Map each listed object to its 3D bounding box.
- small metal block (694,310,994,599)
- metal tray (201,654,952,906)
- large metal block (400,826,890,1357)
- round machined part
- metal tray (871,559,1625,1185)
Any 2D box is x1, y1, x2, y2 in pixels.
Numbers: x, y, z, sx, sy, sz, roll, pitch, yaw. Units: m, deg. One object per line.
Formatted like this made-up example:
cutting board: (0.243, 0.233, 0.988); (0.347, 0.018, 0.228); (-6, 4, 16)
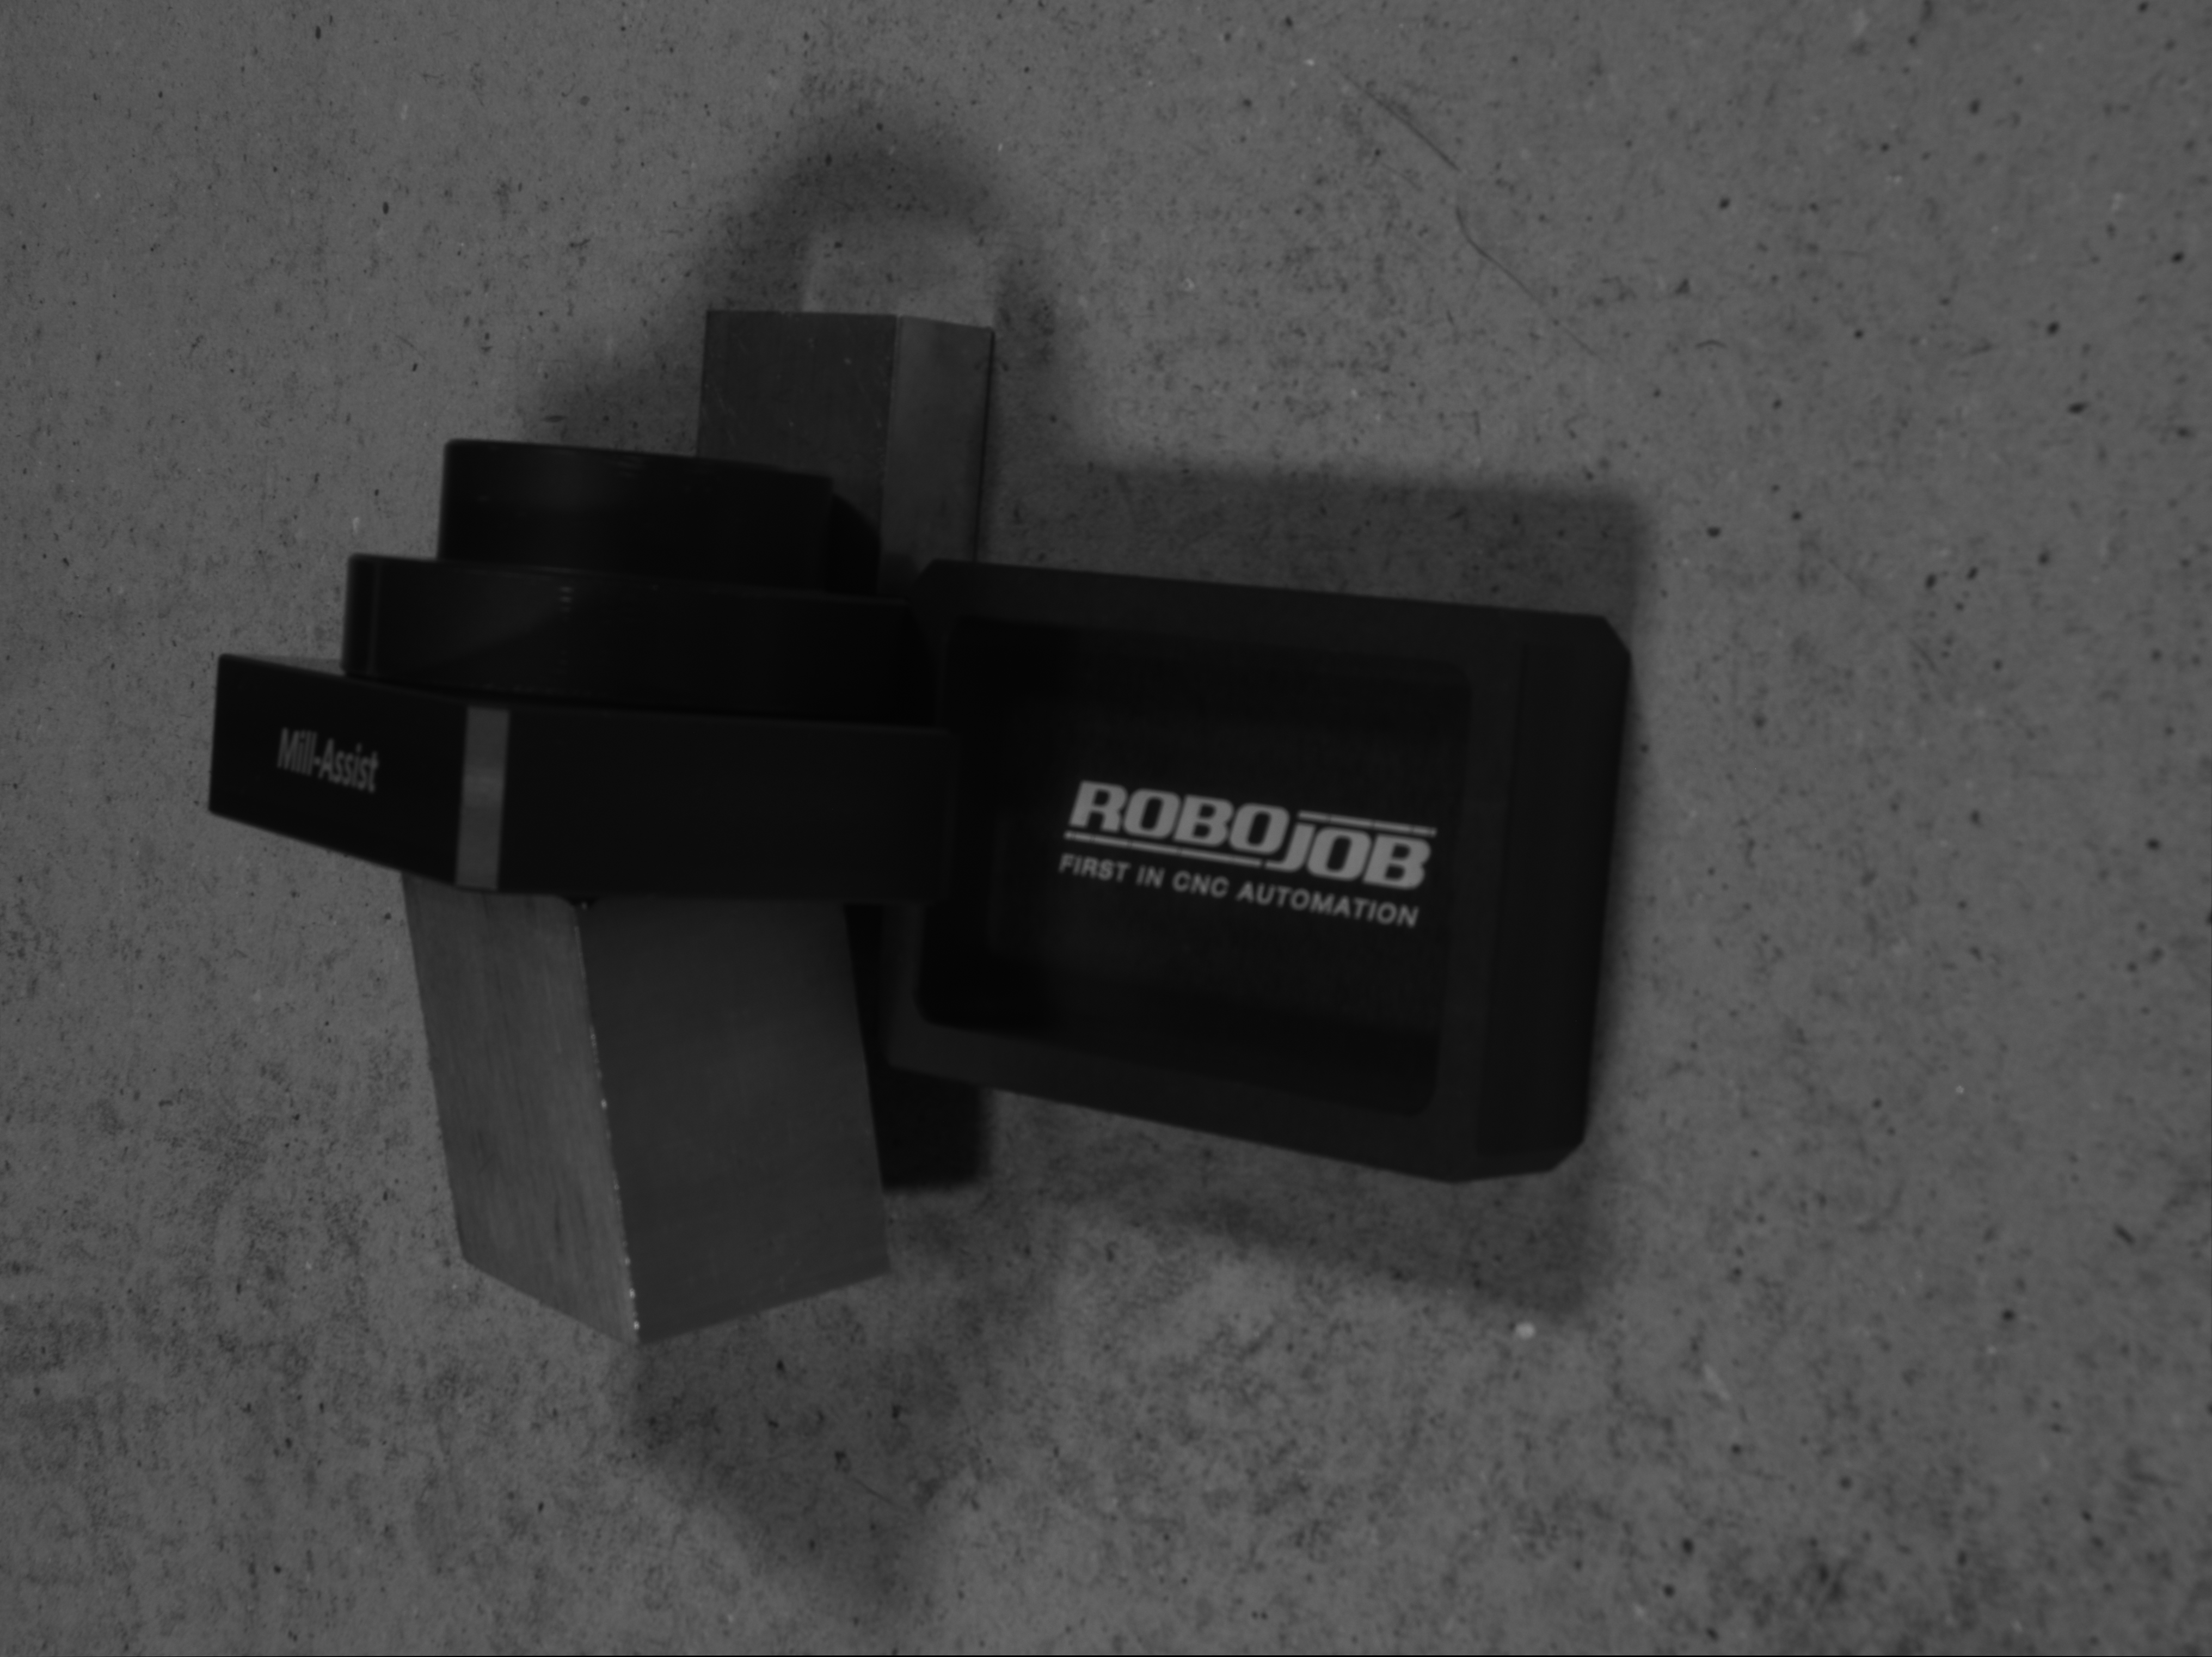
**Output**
small metal block: (-0.050, -0.069, 0.678); (0.050, 0.025, 0.050); (8, 95, 39)
metal tray: (-0.097, -0.010, 0.652); (0.130, 0.090, 0.030); (11, 98, 57)
large metal block: (-0.085, 0.043, 0.666); (0.080, 0.050, 0.080); (10, 110, 57)
round machined part: (-0.085, -0.044, 0.645); (0.098, 0.098, 0.042); (8, 95, 39)
metal tray: (0.021, 0.004, 0.616); (0.130, 0.030, 0.090); (8, 95, 39)
